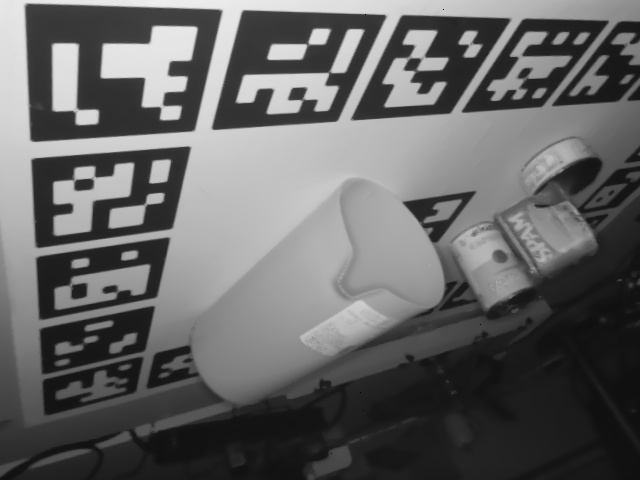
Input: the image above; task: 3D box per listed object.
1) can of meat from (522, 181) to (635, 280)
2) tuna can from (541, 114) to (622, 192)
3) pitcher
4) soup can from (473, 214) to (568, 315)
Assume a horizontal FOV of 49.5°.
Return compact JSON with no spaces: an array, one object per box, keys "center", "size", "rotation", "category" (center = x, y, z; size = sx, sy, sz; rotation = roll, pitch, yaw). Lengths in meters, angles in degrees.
[{"center":[0.295,-0.018,0.790],"size":[0.083,0.102,0.058],"rotation":[-33,146,5],"category":"can of meat"},{"center":[0.282,-0.093,0.742],"size":[0.086,0.034,0.085],"rotation":[-19,146,-12],"category":"tuna can"},{"center":[0.008,0.055,0.666],"size":[0.238,0.133,0.192],"rotation":[-42,167,36],"category":"pitcher"},{"center":[0.236,0.028,0.825],"size":[0.068,0.102,0.067],"rotation":[-20,147,-13],"category":"soup can"}]
